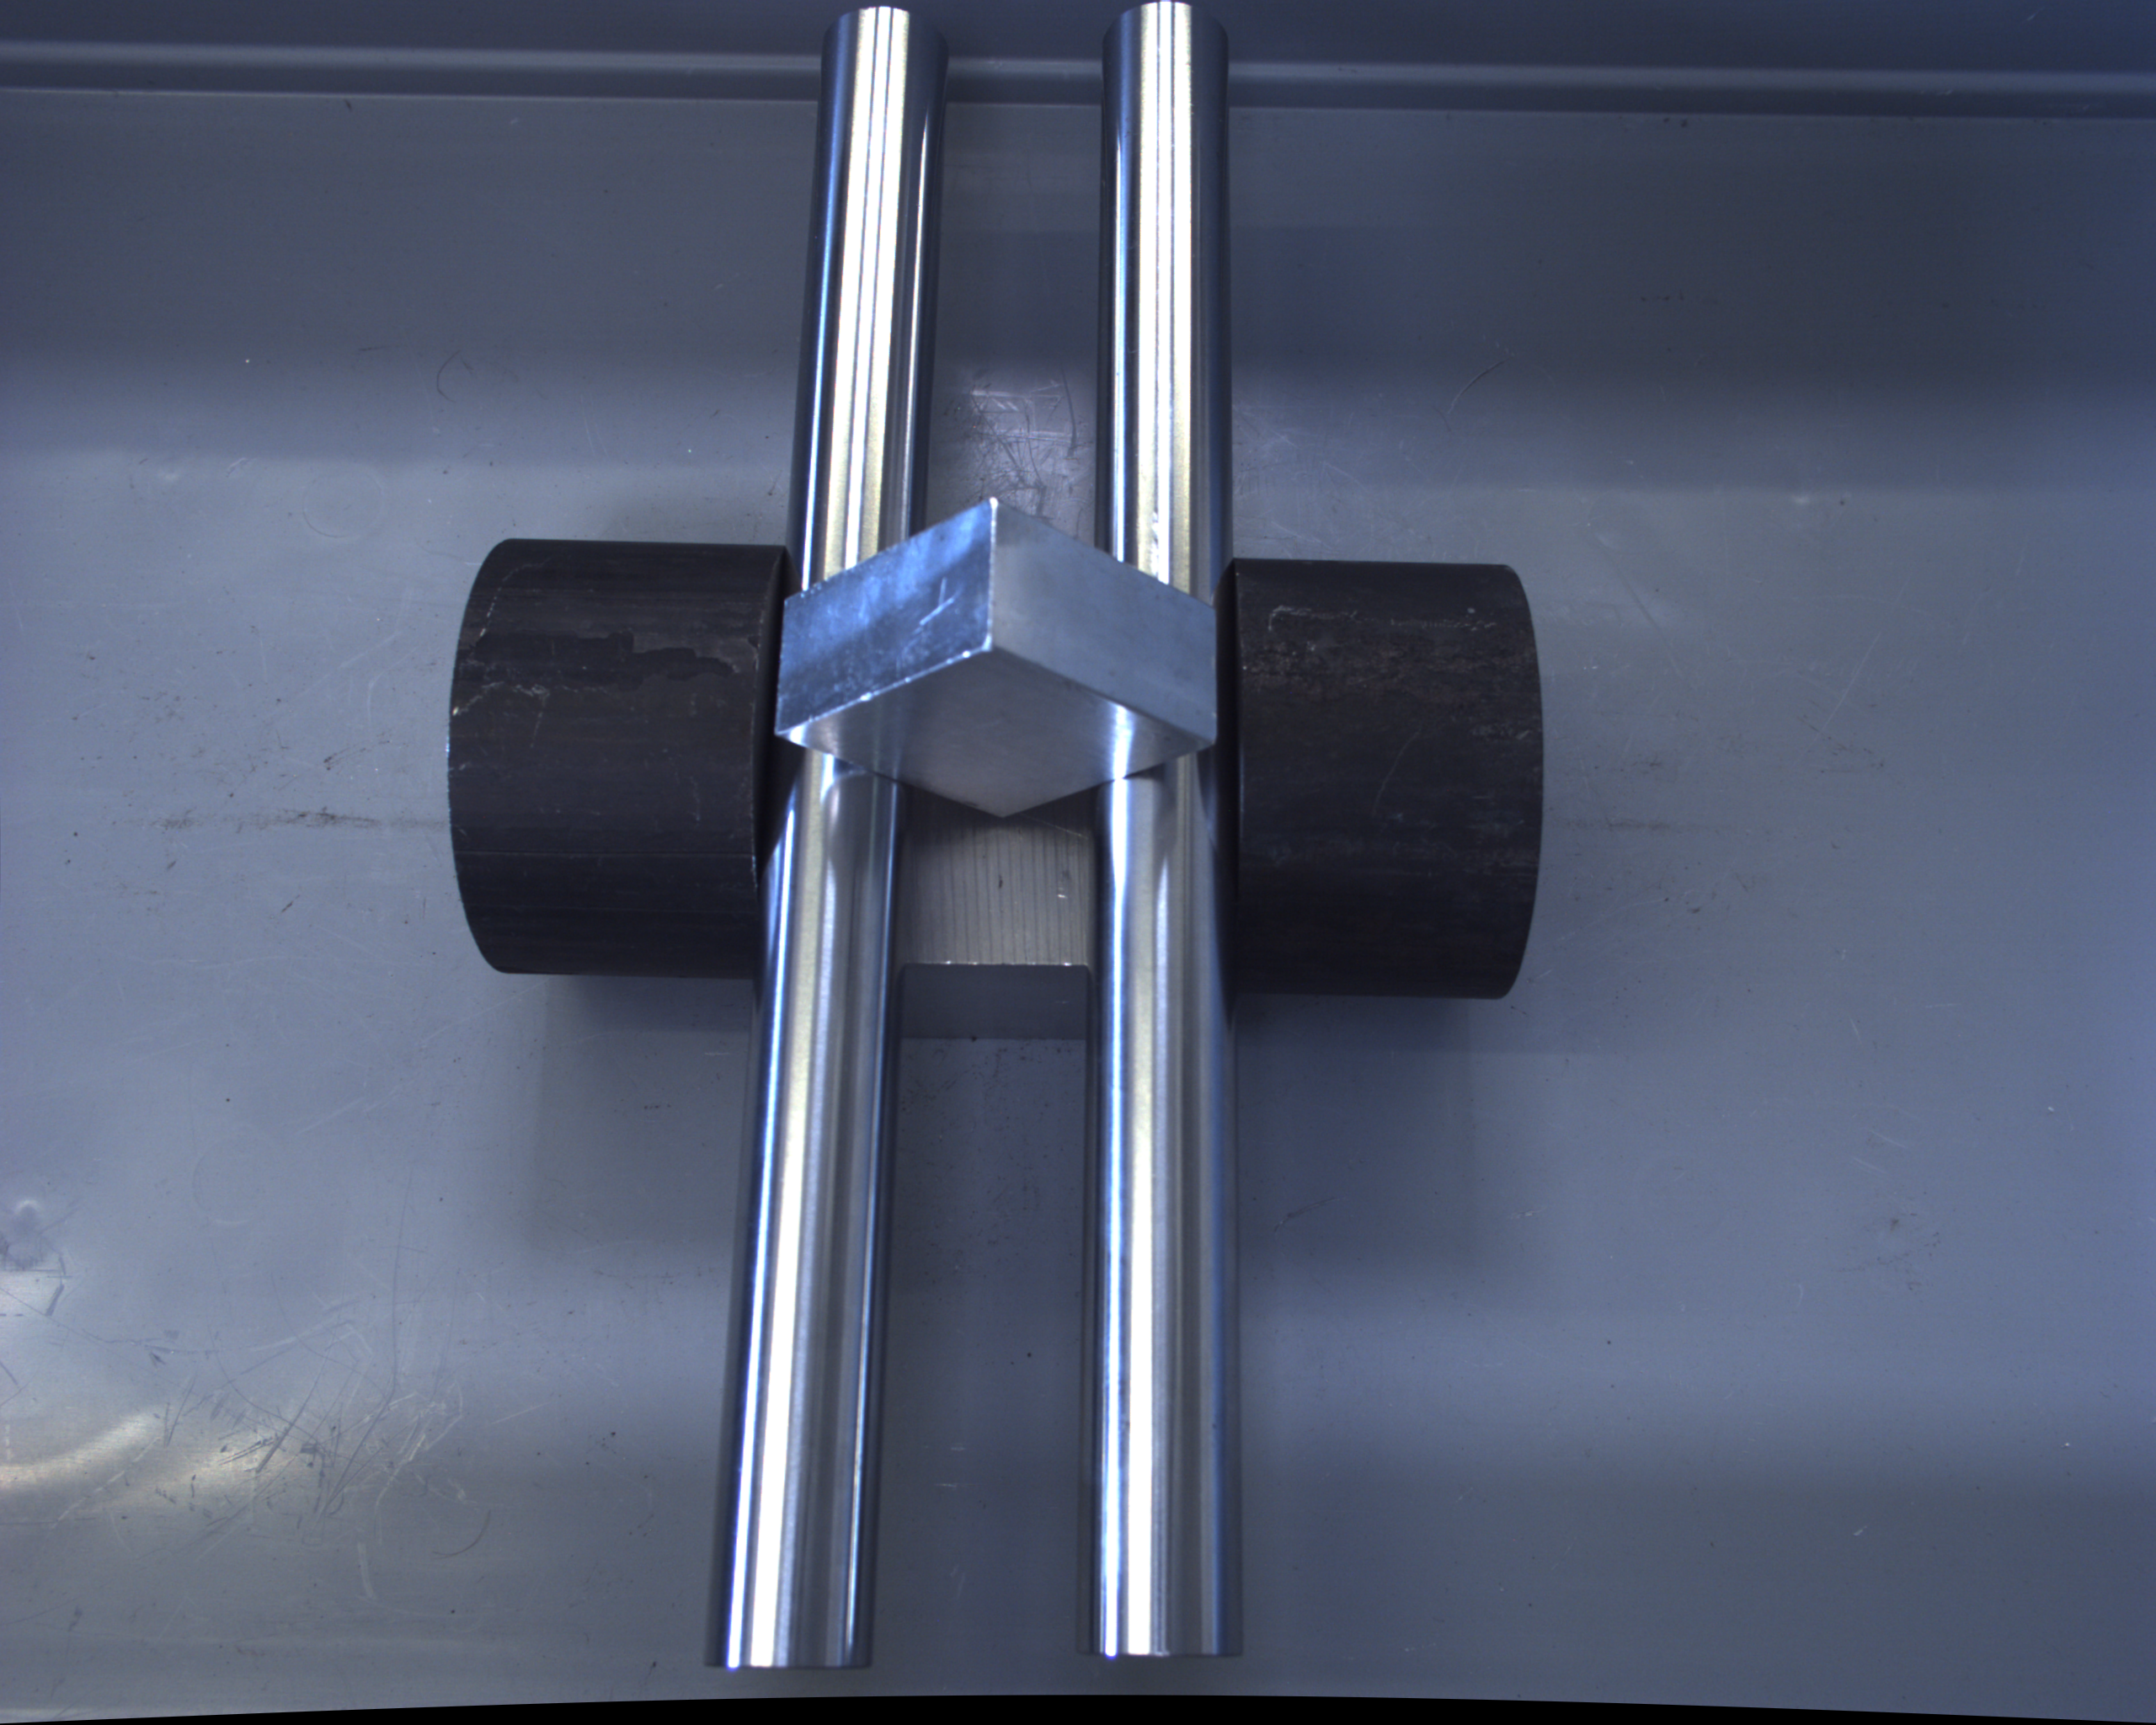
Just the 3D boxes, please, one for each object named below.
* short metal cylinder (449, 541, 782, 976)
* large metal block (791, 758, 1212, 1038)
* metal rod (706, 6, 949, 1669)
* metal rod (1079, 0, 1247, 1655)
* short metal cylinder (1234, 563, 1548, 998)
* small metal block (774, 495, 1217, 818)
[{"bbox_3d":[-0.079,-0.019,0.385,0.050,0.080,0.080,1,70,0],"label":"short metal cylinder"},{"bbox_3d":[-0.013,-0.012,0.398,0.081,0.050,0.080,1,70,0],"label":"large metal block"},{"bbox_3d":[-0.040,-0.020,0.362,0.025,0.025,0.299,1,70,0],"label":"metal rod"},{"bbox_3d":[0.015,-0.022,0.363,0.025,0.025,0.299,1,70,0],"label":"metal rod"},{"bbox_3d":[0.053,-0.015,0.384,0.050,0.080,0.080,0,70,1],"label":"short metal cylinder"},{"bbox_3d":[-0.013,-0.031,0.339,0.050,0.050,0.025,-17,64,41],"label":"small metal block"}]
